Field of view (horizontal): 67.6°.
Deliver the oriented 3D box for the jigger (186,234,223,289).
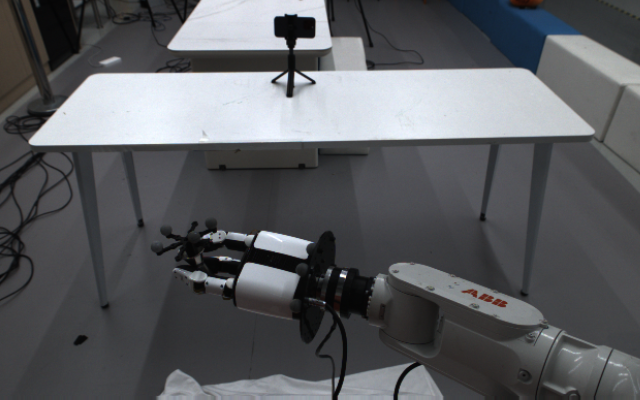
[{"bbox_3d":[-0.179,0.100,0.721,0.043,0.071,0.043,-10,33,6],"label":"jigger"}]
